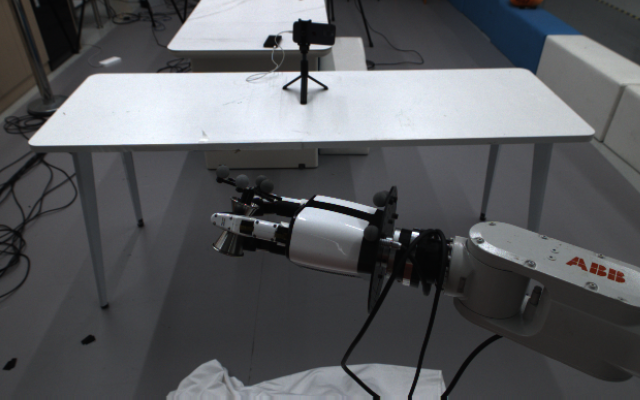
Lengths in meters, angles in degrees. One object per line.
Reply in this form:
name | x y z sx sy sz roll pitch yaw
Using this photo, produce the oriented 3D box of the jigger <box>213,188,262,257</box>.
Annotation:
jigger | -0.107 0.033 0.618 0.043 0.071 0.043 21 6 -2
